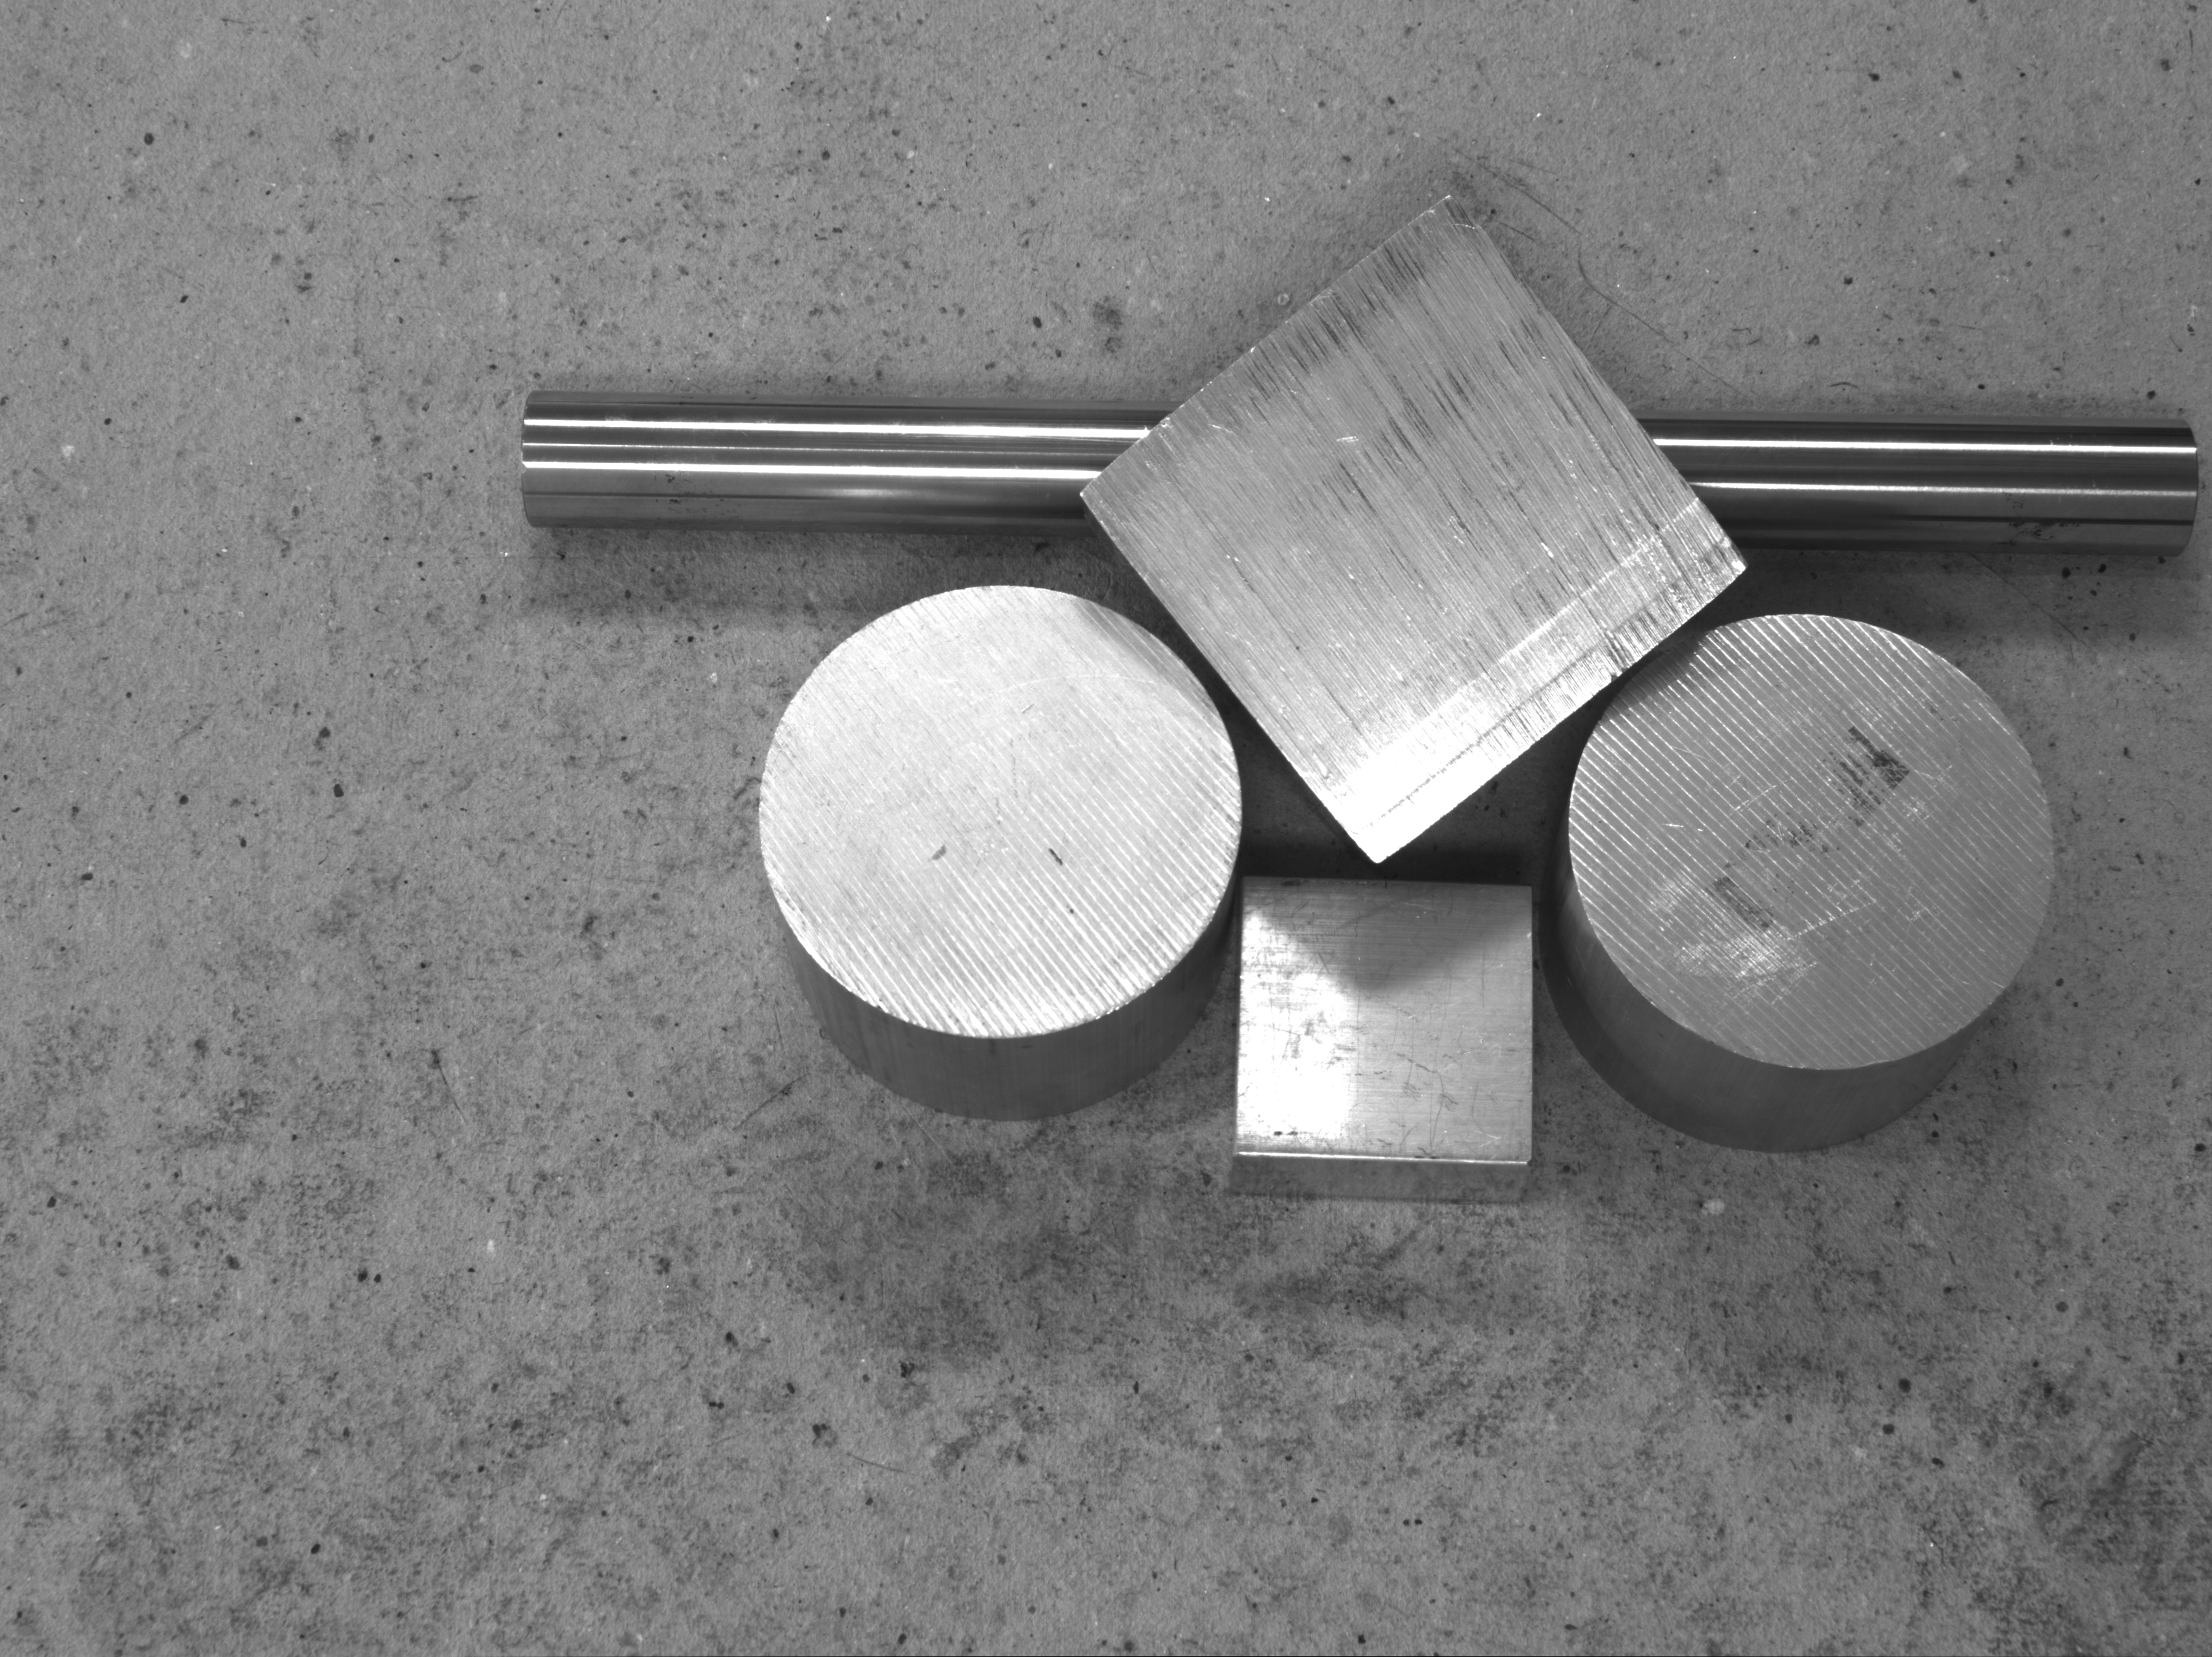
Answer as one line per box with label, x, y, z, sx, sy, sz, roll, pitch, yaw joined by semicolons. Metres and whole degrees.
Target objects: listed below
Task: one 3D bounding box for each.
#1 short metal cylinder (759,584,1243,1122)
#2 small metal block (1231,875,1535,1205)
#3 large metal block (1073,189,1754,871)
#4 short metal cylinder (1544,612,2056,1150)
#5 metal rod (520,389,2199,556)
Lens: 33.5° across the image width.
short metal cylinder;-0.017;0.005;0.630;0.080;0.050;0.080;0;70;0
small metal block;0.048;0.037;0.633;0.050;0.025;0.050;2;70;1
large metal block;0.051;-0.050;0.632;0.080;0.050;0.080;-39;90;1
short metal cylinder;0.116;0.010;0.629;0.080;0.050;0.080;0;70;0
metal rod;0.045;-0.065;0.669;0.300;0.025;0.025;1;70;0
